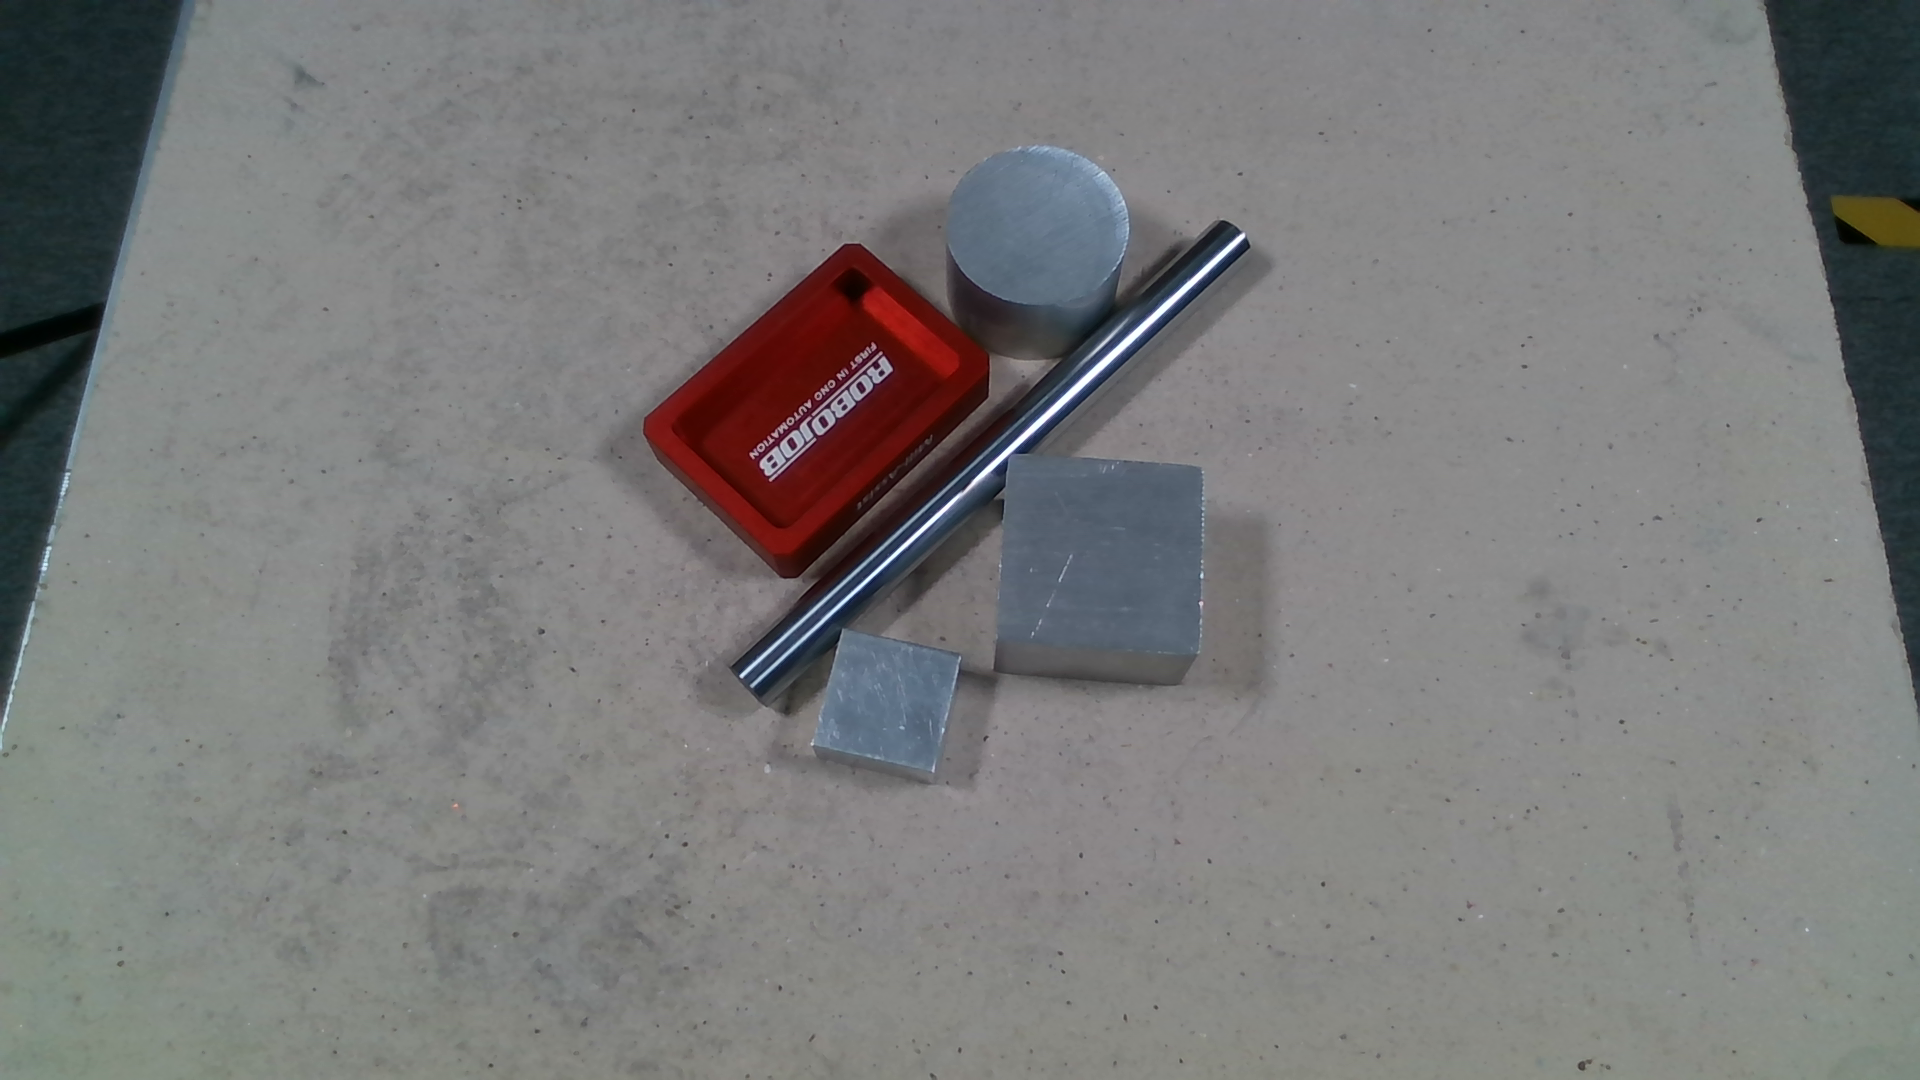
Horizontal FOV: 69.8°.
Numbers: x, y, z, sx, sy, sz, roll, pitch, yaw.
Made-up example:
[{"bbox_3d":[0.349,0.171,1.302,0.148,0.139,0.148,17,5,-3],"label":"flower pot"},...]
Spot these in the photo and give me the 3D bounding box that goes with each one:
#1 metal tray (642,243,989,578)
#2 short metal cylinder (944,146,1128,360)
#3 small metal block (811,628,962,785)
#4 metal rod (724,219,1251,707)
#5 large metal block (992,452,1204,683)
[{"bbox_3d":[-0.062,-0.059,0.606,0.090,0.030,0.130,42,76,14],"label":"metal tray"},{"bbox_3d":[0.033,-0.129,0.621,0.080,0.050,0.080,0,70,0],"label":"short metal cylinder"},{"bbox_3d":[-0.029,0.068,0.564,0.050,0.025,0.050,12,71,4],"label":"small metal block"},{"bbox_3d":[0.018,-0.039,0.602,0.300,0.025,0.025,-43,76,-14],"label":"metal rod"},{"bbox_3d":[0.056,0.013,0.570,0.080,0.050,0.080,4,70,1],"label":"large metal block"}]
